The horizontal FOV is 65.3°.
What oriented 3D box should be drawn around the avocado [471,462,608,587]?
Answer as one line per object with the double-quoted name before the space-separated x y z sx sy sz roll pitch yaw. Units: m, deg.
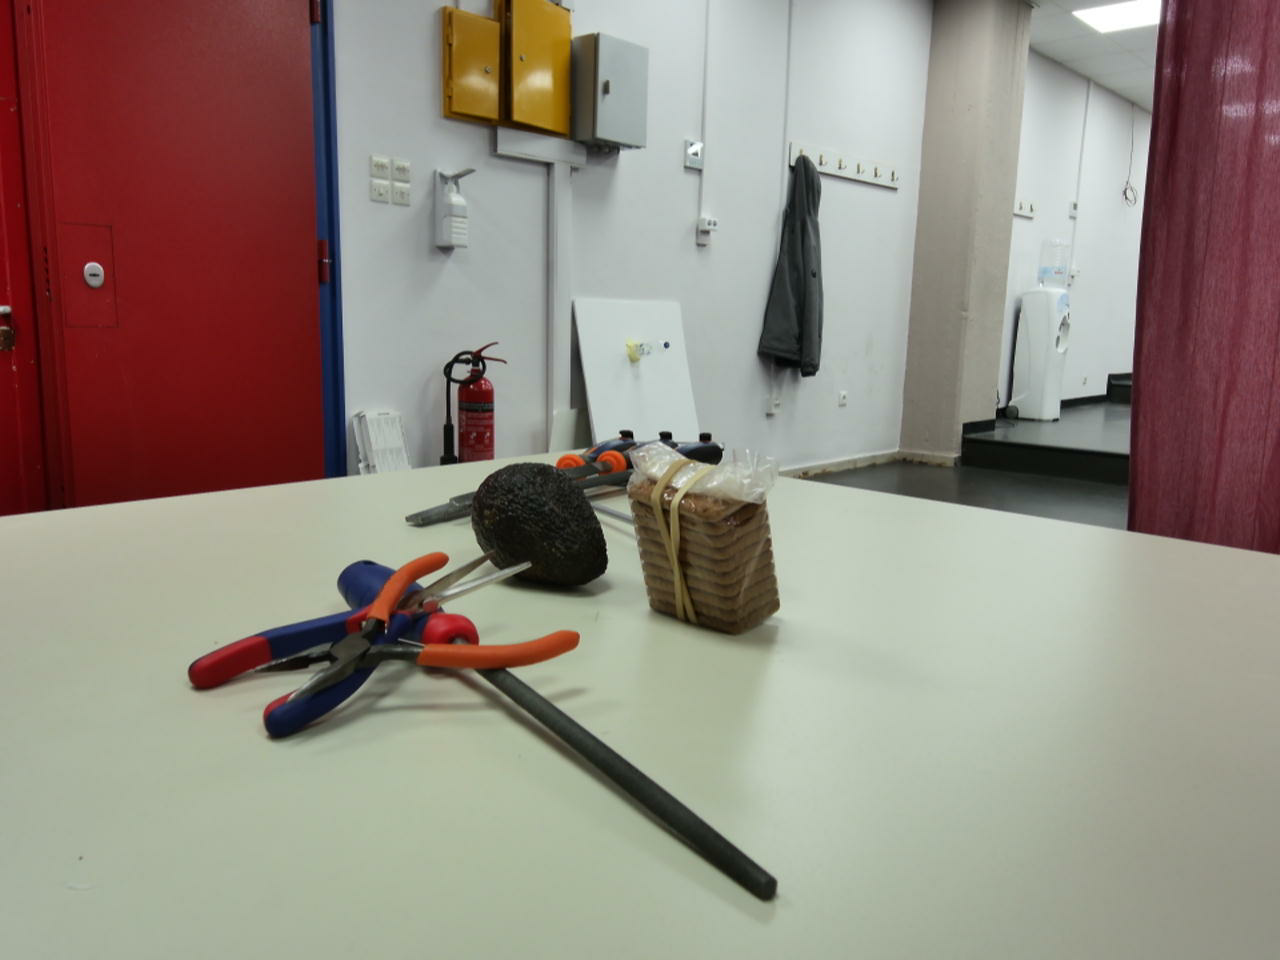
"avocado" -0.062 0.025 0.588 0.070 0.069 0.090 -2 8 -22
